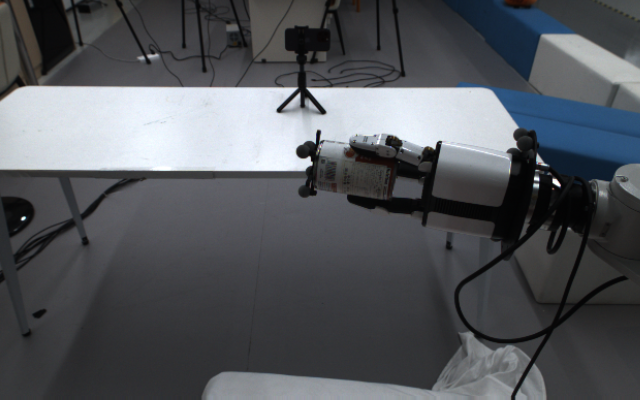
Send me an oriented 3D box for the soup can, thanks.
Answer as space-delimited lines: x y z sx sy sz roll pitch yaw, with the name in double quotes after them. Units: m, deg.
0.050 -0.039 0.628 0.101 0.067 0.067 9 35 9 "soup can"
